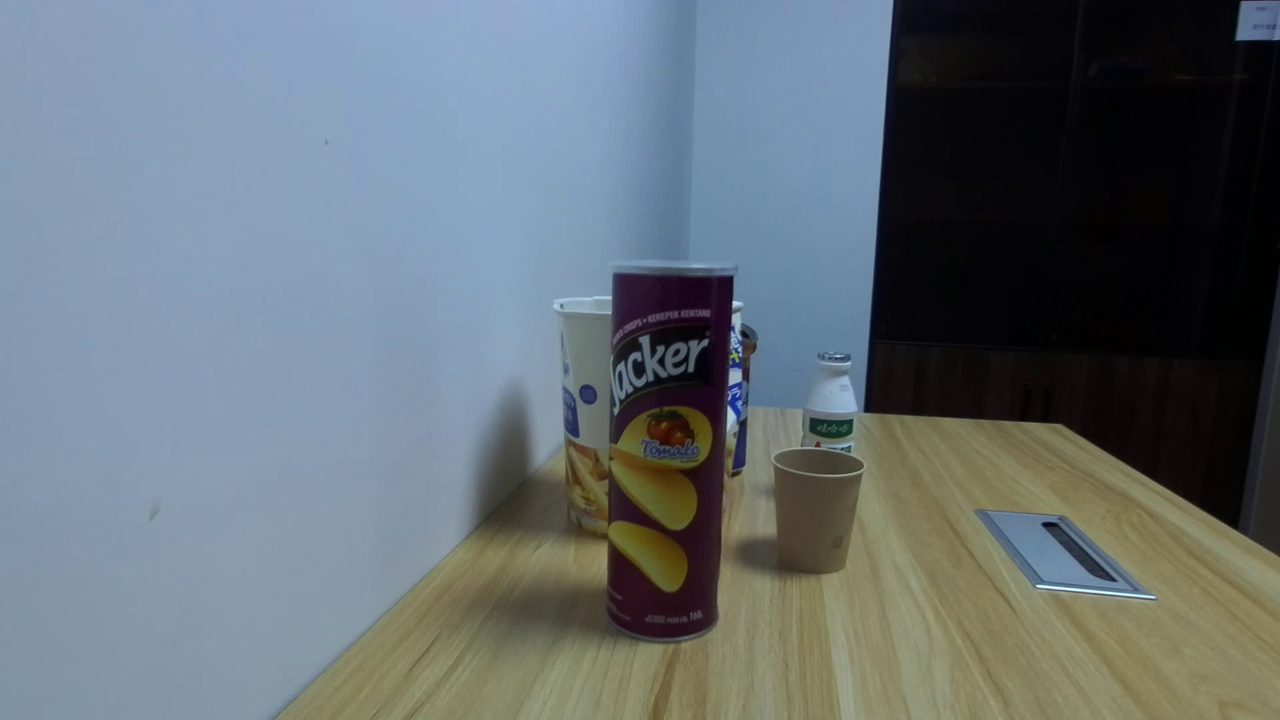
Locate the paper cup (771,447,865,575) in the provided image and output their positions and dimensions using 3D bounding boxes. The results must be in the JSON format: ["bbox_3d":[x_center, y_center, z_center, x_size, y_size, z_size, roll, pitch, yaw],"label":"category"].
[{"bbox_3d":[0.138,0.120,0.560,0.075,0.082,0.075,2,8,0],"label":"paper cup"}]

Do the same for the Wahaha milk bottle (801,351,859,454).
[{"bbox_3d":[0.183,0.067,0.689,0.053,0.147,0.053,2,8,0],"label":"Wahaha milk bottle"}]

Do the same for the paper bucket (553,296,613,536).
[{"bbox_3d":[0.008,0.051,0.642,0.169,0.202,0.163,2,9,12],"label":"paper bucket"}]

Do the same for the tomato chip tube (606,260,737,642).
[{"bbox_3d":[0.019,0.057,0.459,0.078,0.233,0.078,1,9,0],"label":"tomato chip tube"}]
